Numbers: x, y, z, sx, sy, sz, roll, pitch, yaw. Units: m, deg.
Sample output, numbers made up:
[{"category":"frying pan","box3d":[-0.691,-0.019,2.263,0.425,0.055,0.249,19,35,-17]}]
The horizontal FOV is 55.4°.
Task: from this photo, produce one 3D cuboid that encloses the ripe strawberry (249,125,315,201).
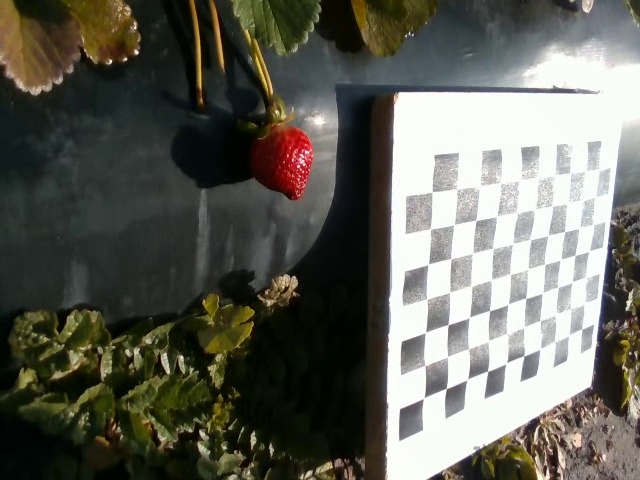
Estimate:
[{"category":"ripe strawberry","box3d":[-0.018,-0.037,0.306,0.040,0.044,0.036,-31,15,-30]}]
